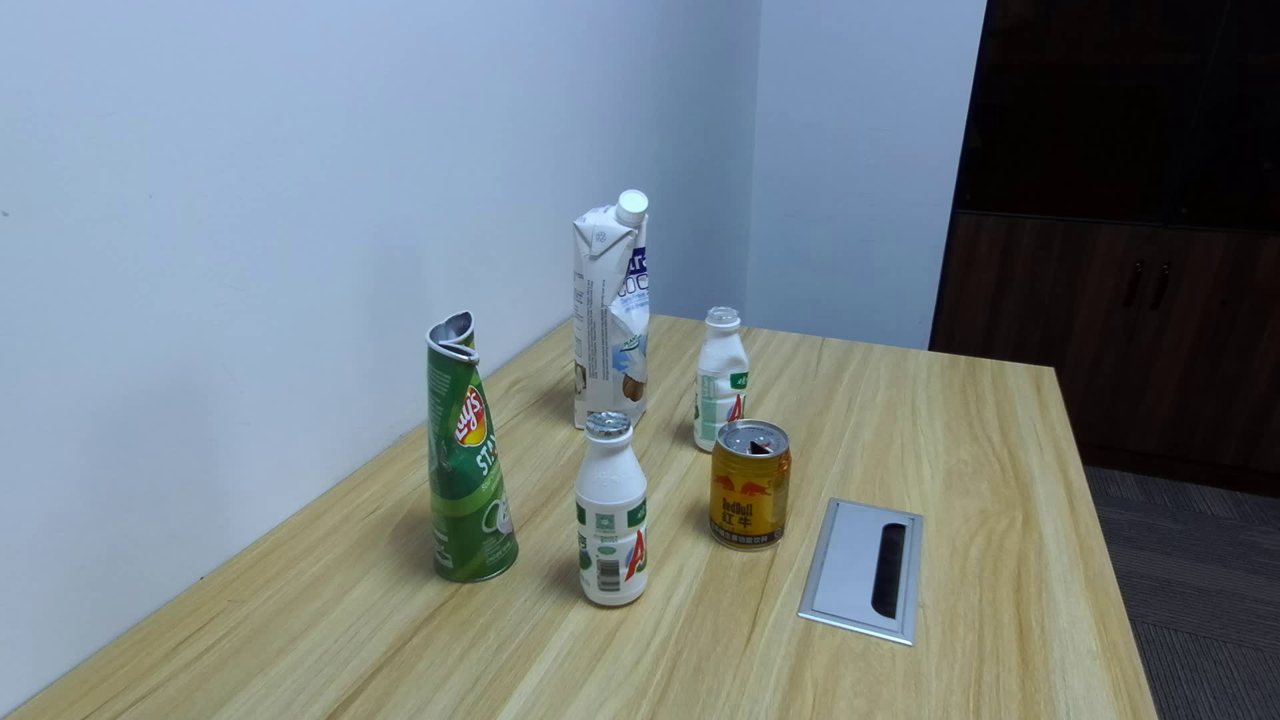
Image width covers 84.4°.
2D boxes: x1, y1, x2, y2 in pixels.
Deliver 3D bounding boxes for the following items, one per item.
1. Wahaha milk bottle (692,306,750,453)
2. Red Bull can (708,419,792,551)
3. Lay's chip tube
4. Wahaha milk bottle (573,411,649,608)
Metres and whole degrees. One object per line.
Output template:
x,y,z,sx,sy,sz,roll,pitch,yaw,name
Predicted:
0.082,0.021,0.711,0.055,0.149,0.055,1,26,0,Wahaha milk bottle
0.093,0.104,0.596,0.067,0.093,0.067,1,24,0,Red Bull can
-0.136,0.071,0.548,0.069,0.201,0.077,-19,32,-36,Lay's chip tube
-0.020,0.110,0.519,0.053,0.147,0.053,0,25,0,Wahaha milk bottle
